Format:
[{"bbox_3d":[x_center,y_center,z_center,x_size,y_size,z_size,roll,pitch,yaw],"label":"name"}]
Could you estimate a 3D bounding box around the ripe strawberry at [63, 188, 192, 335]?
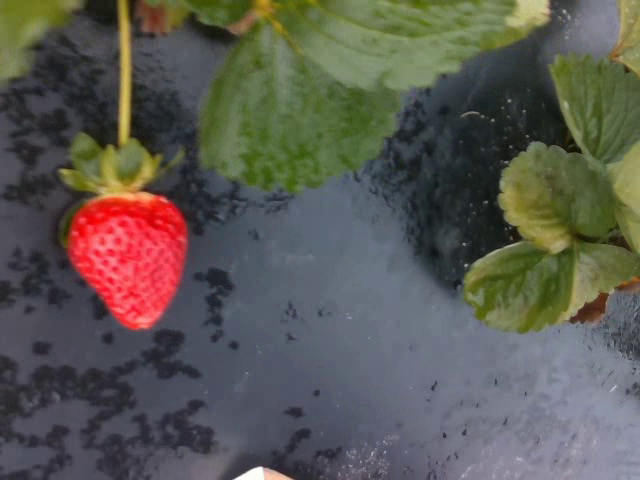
[{"bbox_3d":[-0.066,0.007,0.221,0.045,0.054,0.048,-3,-5,-9],"label":"ripe strawberry"}]
